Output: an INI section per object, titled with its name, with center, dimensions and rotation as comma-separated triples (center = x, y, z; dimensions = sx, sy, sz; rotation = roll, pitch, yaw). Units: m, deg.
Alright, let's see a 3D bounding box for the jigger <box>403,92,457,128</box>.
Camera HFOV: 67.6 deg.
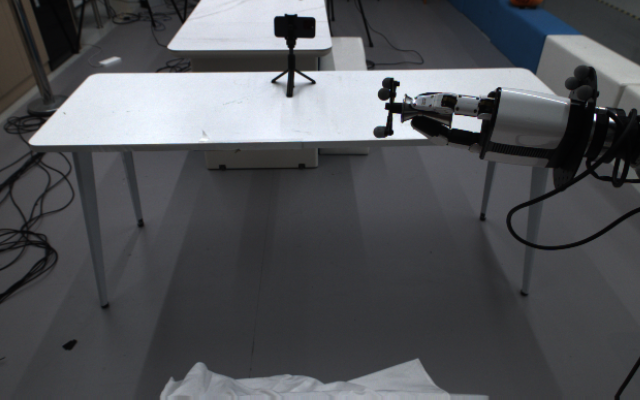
[jigger]
center = 0.155, -0.127, 0.669
dimensions = 0.071, 0.043, 0.043
rotation = 7, 35, 14
